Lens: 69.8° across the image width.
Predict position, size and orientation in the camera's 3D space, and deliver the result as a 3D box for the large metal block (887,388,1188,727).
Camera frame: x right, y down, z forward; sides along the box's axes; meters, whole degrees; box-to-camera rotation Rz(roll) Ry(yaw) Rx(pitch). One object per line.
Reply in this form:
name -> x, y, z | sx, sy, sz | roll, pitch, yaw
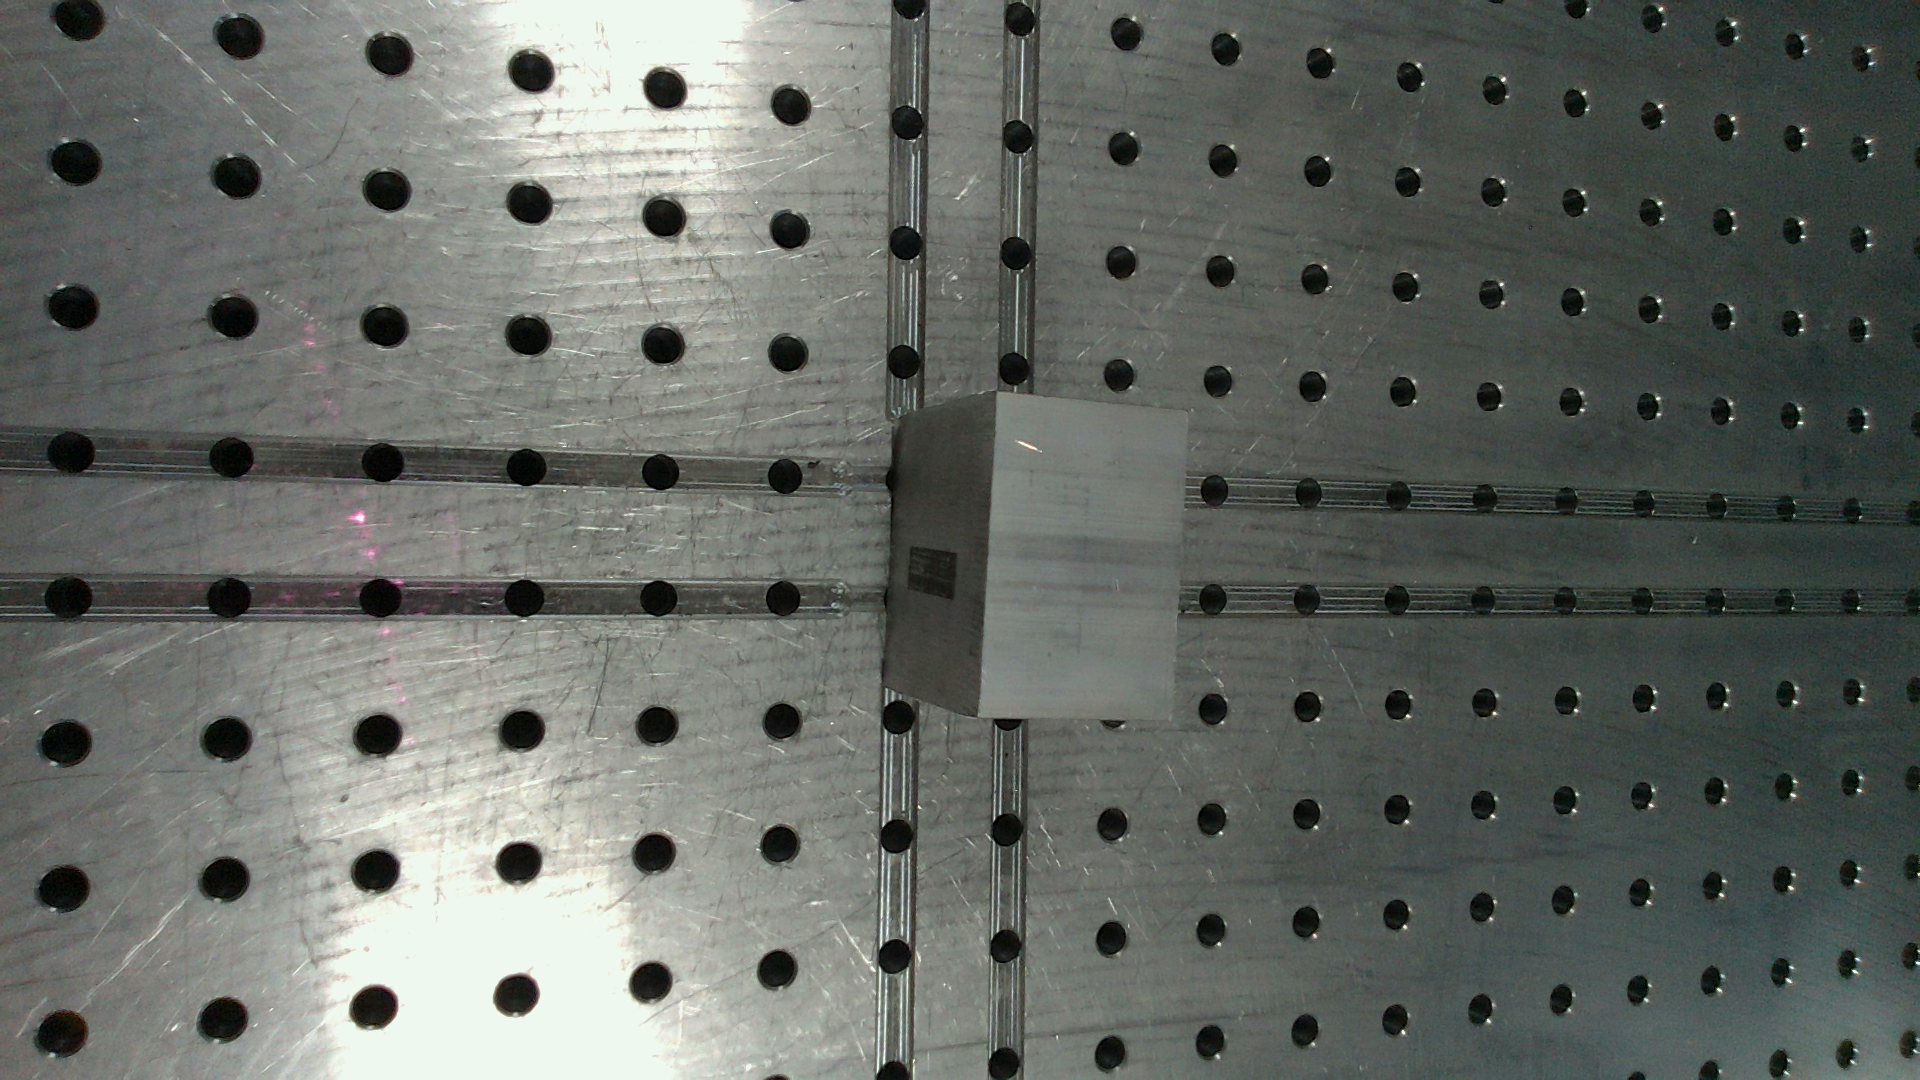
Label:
large metal block -> 0.018, 0.005, 0.372 | 0.050, 0.080, 0.080 | 4, 89, -20
